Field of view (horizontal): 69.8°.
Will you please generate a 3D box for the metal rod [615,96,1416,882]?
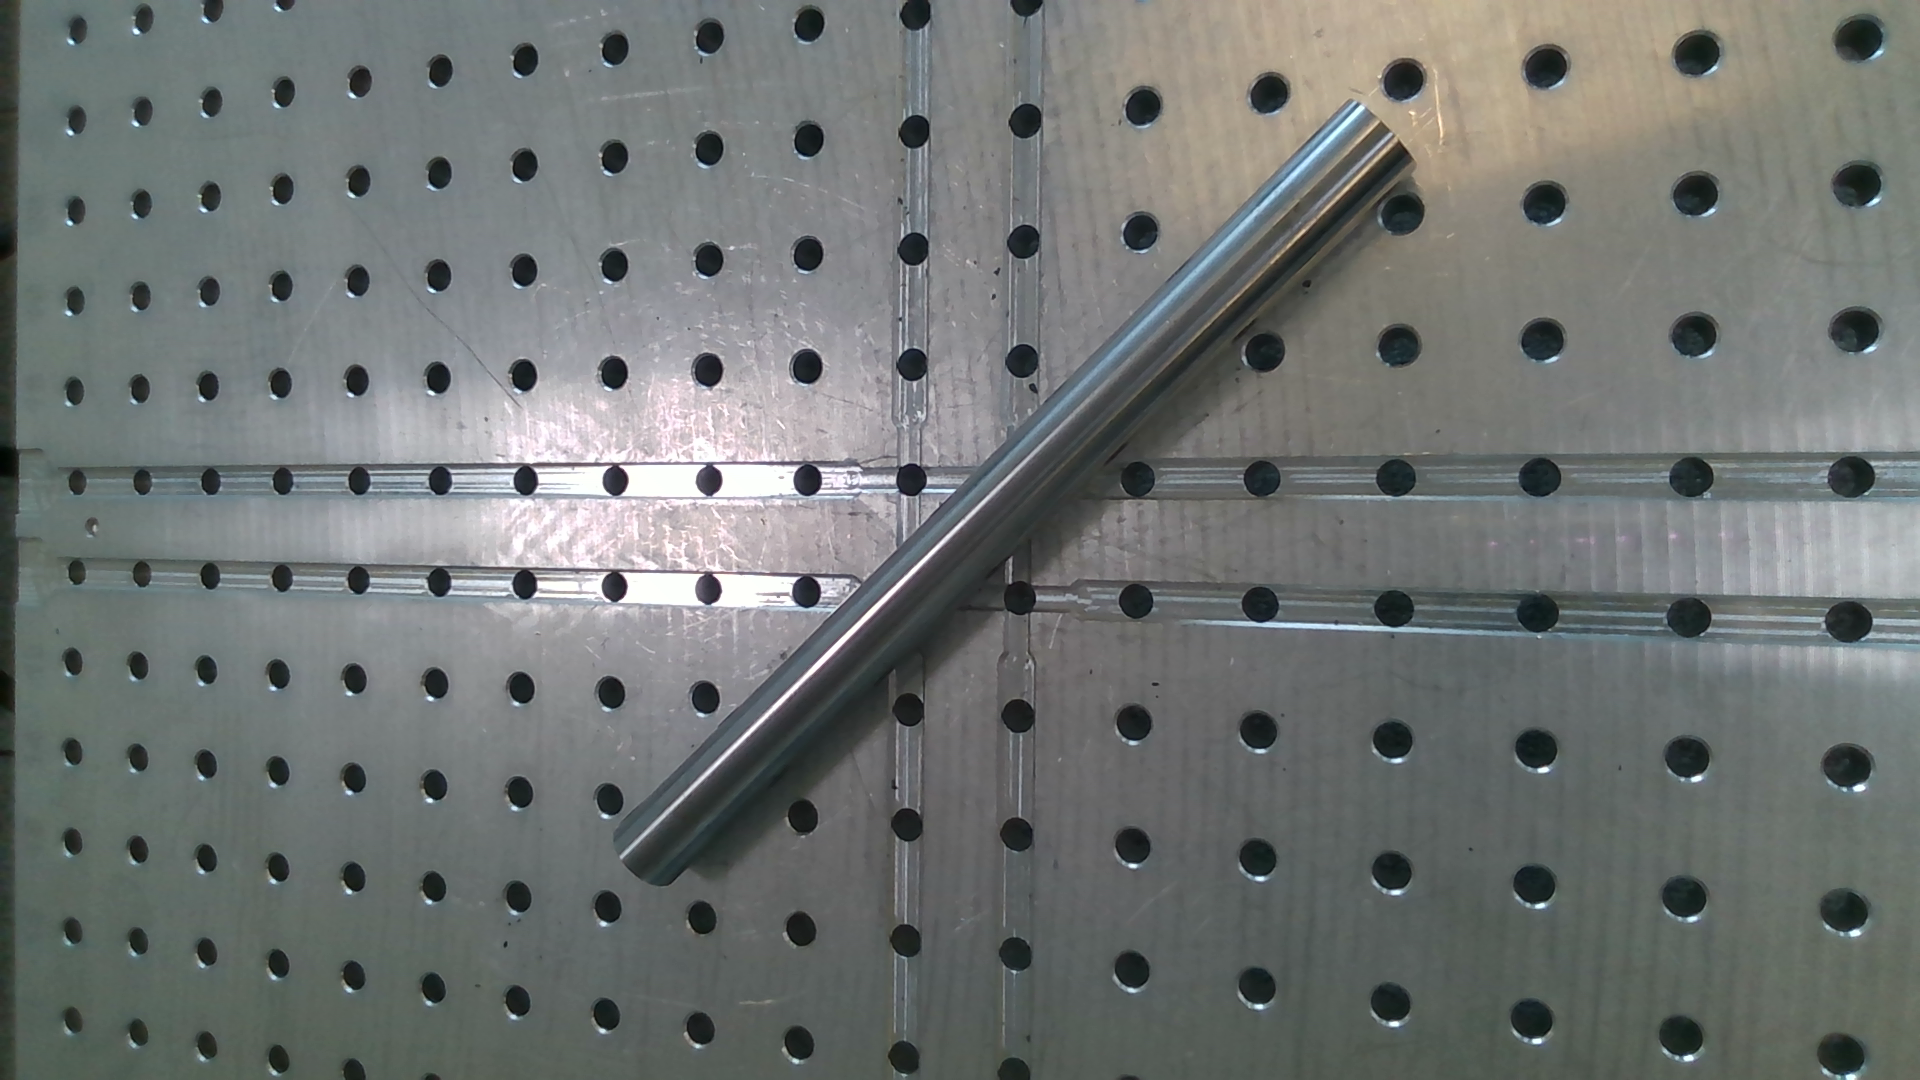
[{"bbox_3d":[0.005,-0.004,0.395,0.300,0.025,0.025,-44,76,15],"label":"metal rod"}]
